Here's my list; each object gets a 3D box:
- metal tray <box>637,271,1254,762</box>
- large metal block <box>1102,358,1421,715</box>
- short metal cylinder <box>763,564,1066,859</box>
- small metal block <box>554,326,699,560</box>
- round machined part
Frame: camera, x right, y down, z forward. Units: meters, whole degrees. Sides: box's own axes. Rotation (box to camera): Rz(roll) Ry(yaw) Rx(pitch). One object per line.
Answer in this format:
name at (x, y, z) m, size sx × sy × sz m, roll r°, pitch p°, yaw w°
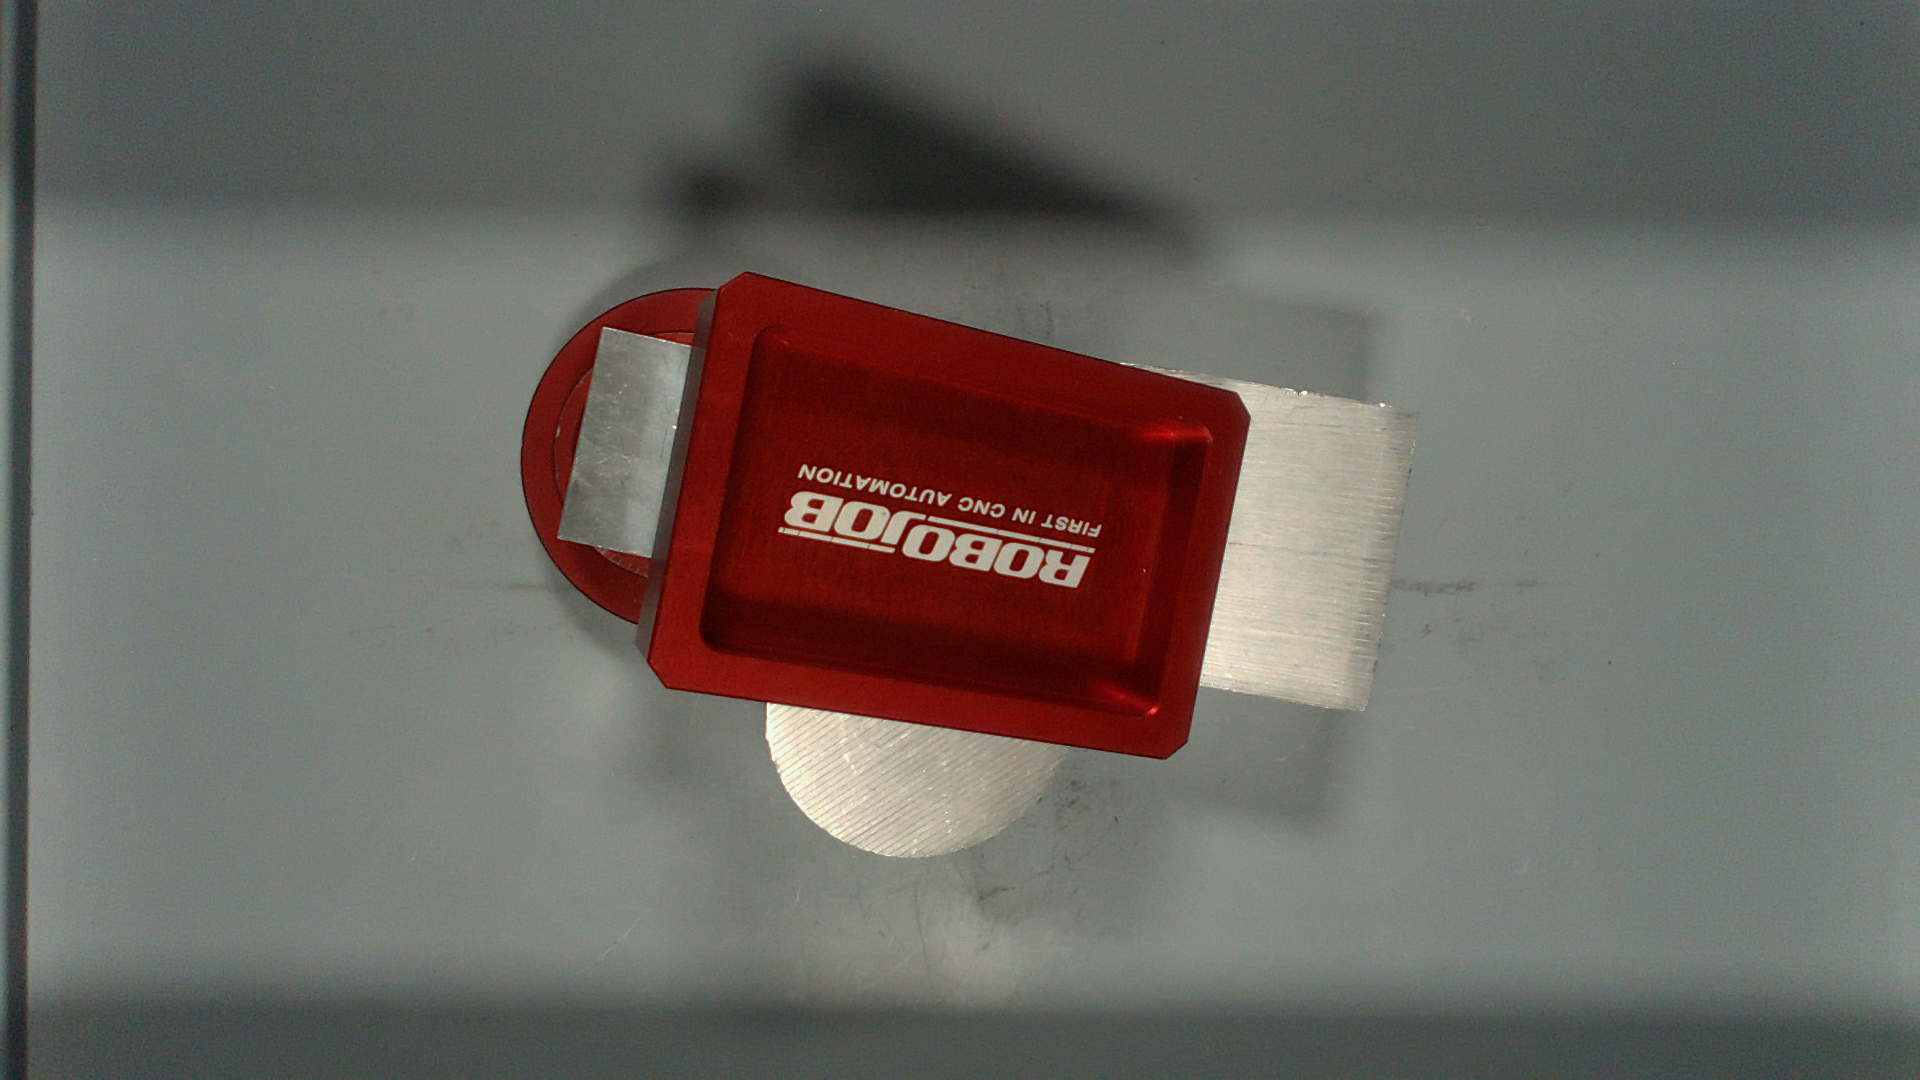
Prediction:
metal tray at (-0.002, -0.003, 0.321) m, size 0.130 × 0.030 × 0.090 m, roll 11°, pitch 90°, yaw -19°
large metal block at (0.073, -0.001, 0.381) m, size 0.080 × 0.050 × 0.080 m, roll 10°, pitch 90°, yaw 0°
short metal cylinder at (-0.014, 0.038, 0.370) m, size 0.080 × 0.050 × 0.080 m, roll -3°, pitch 104°, yaw -11°
small metal block at (-0.075, -0.022, 0.339) m, size 0.025 × 0.050 × 0.050 m, roll 12°, pitch 90°, yaw 0°
round machined part at (-0.075, -0.022, 0.385) m, size 0.098 × 0.042 × 0.098 m, roll 0°, pitch 90°, yaw 0°
